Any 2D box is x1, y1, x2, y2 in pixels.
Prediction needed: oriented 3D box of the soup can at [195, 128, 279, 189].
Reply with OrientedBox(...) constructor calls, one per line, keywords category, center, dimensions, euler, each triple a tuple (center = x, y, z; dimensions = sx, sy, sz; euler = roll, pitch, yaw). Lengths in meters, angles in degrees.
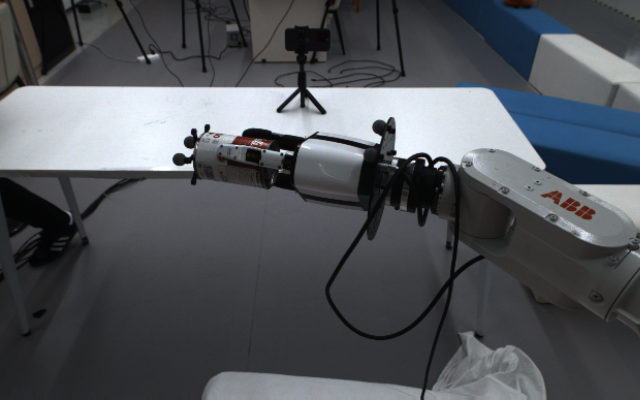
OrientedBox(category="soup can", center=(-0.112, -0.055, 0.665), dimensions=(0.101, 0.067, 0.067), euler=(8, 35, 11))
